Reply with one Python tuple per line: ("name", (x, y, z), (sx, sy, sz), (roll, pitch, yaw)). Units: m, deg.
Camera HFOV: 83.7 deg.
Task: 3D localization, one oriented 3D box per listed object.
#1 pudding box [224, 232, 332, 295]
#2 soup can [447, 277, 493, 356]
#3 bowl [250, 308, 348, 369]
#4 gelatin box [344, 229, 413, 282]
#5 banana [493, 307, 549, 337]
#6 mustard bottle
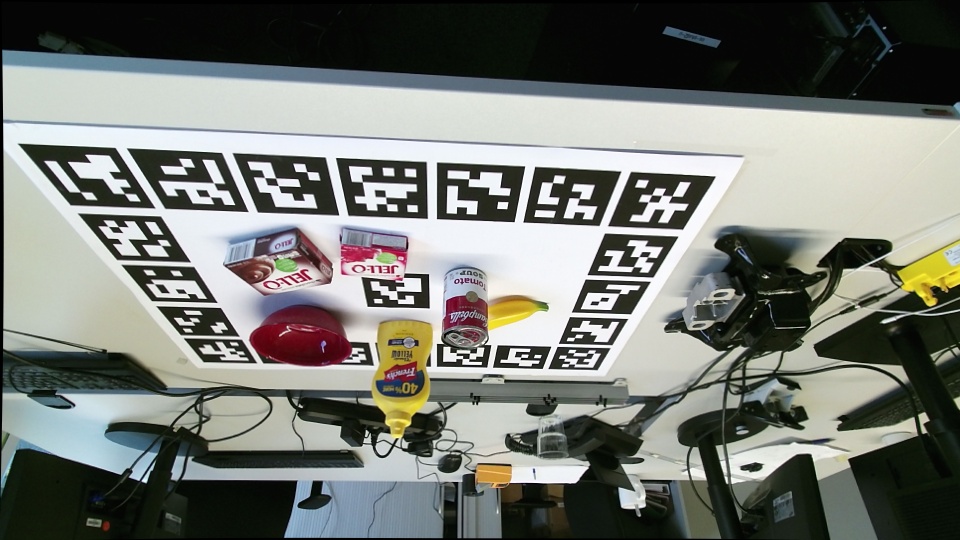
("pudding box", (-0.279, -0.003, 0.748), (0.114, 0.038, 0.090), (-12, 138, 15))
("soup can", (-0.014, 0.069, 0.788), (0.068, 0.101, 0.068), (1, 146, 1))
("bowl", (-0.301, 0.109, 0.899), (0.162, 0.055, 0.162), (-2, 146, -1))
("gelatin box", (-0.141, -0.018, 0.737), (0.090, 0.030, 0.073), (6, 141, -10))
("banana", (0.018, 0.102, 0.906), (0.198, 0.038, 0.074), (-29, 146, 34))
("mustard bottle", (-0.131, 0.192, 0.879), (0.096, 0.190, 0.058), (2, 148, -4))
